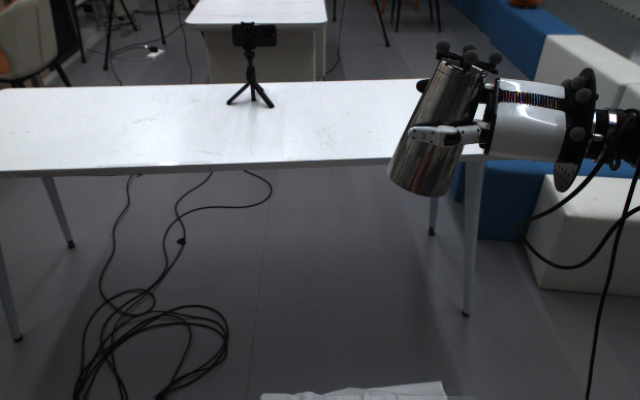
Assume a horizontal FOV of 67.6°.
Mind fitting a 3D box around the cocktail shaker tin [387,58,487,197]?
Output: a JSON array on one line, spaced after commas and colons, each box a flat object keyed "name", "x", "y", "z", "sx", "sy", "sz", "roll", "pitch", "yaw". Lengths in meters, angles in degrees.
[{"name": "cocktail shaker tin", "x": 0.164, "y": -0.103, "z": 0.660, "sx": 0.093, "sy": 0.170, "sz": 0.093, "roll": 12, "pitch": 29, "yaw": -7}]
